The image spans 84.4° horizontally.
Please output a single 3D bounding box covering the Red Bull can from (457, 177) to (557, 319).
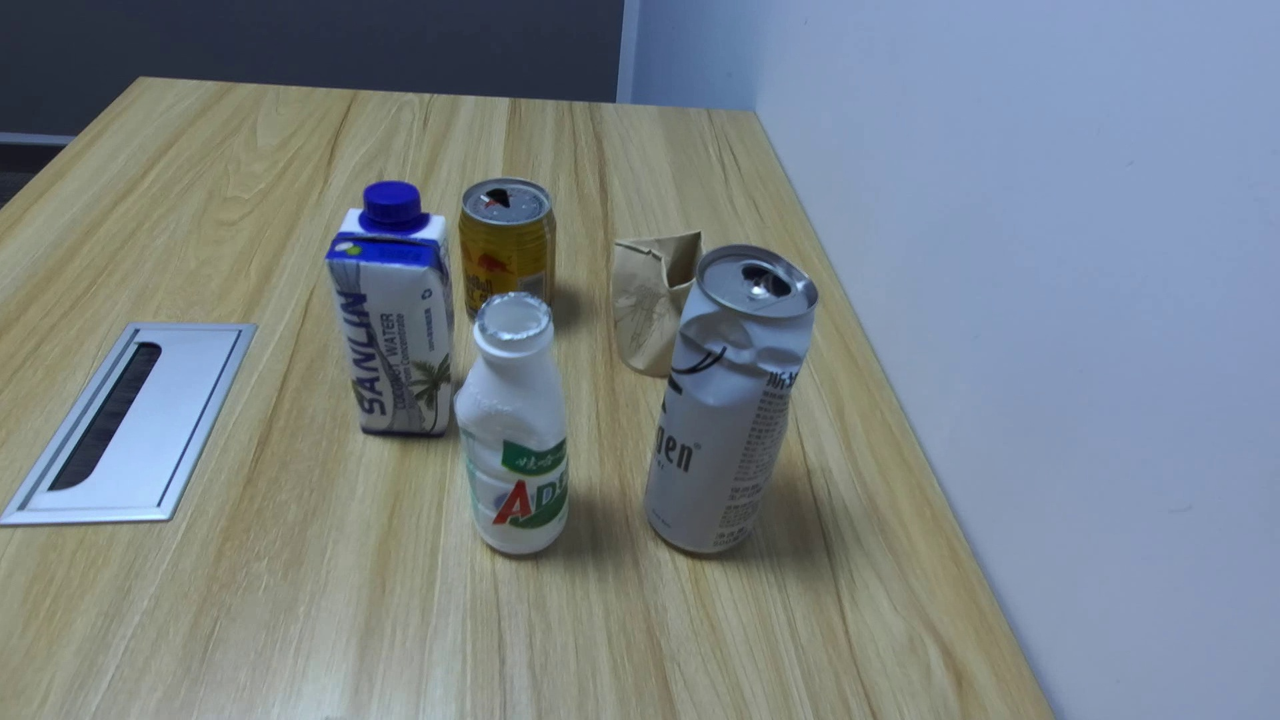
[{"bbox_3d":[-0.093,-0.072,0.501,0.067,0.093,0.067,3,41,-3],"label":"Red Bull can"}]

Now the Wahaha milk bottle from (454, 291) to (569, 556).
[{"bbox_3d":[-0.060,0.037,0.347,0.056,0.149,0.055,4,44,-4],"label":"Wahaha milk bottle"}]

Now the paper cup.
[{"bbox_3d":[0.009,-0.037,0.471,0.058,0.083,0.066,6,39,-1],"label":"paper cup"}]

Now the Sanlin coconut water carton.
[{"bbox_3d":[-0.136,-0.024,0.402,0.061,0.144,0.060,4,42,-5],"label":"Sanlin coconut water carton"}]

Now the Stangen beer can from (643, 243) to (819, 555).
[{"bbox_3d":[0.043,0.029,0.359,0.066,0.166,0.066,24,42,18],"label":"Stangen beer can"}]
